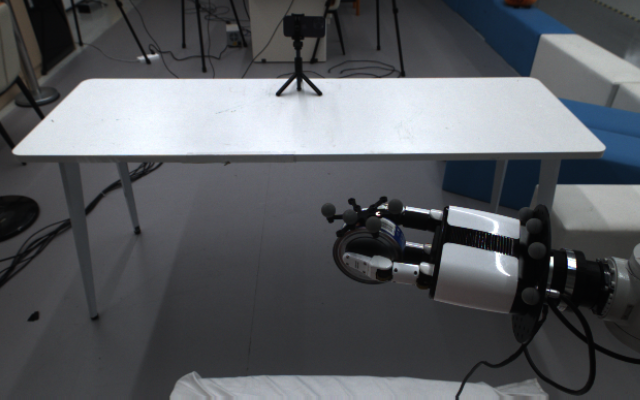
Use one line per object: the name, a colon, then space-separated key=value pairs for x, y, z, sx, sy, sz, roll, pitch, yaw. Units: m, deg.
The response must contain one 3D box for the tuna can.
tuna can: x=0.063 y=0.059 z=0.588 sx=0.085 sy=0.085 sz=0.034 roll=10 pitch=33 yaw=11
